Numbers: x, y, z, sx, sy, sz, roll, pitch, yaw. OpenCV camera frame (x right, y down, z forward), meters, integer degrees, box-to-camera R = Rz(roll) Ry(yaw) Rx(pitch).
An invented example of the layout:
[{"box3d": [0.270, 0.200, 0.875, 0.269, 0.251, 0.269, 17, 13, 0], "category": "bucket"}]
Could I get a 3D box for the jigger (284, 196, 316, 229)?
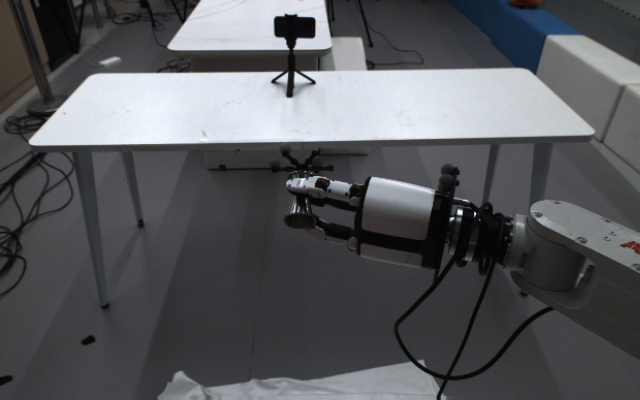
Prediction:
[{"box3d": [-0.026, -0.004, 0.653, 0.043, 0.043, 0.071, 2, 59, 0], "category": "jigger"}]
